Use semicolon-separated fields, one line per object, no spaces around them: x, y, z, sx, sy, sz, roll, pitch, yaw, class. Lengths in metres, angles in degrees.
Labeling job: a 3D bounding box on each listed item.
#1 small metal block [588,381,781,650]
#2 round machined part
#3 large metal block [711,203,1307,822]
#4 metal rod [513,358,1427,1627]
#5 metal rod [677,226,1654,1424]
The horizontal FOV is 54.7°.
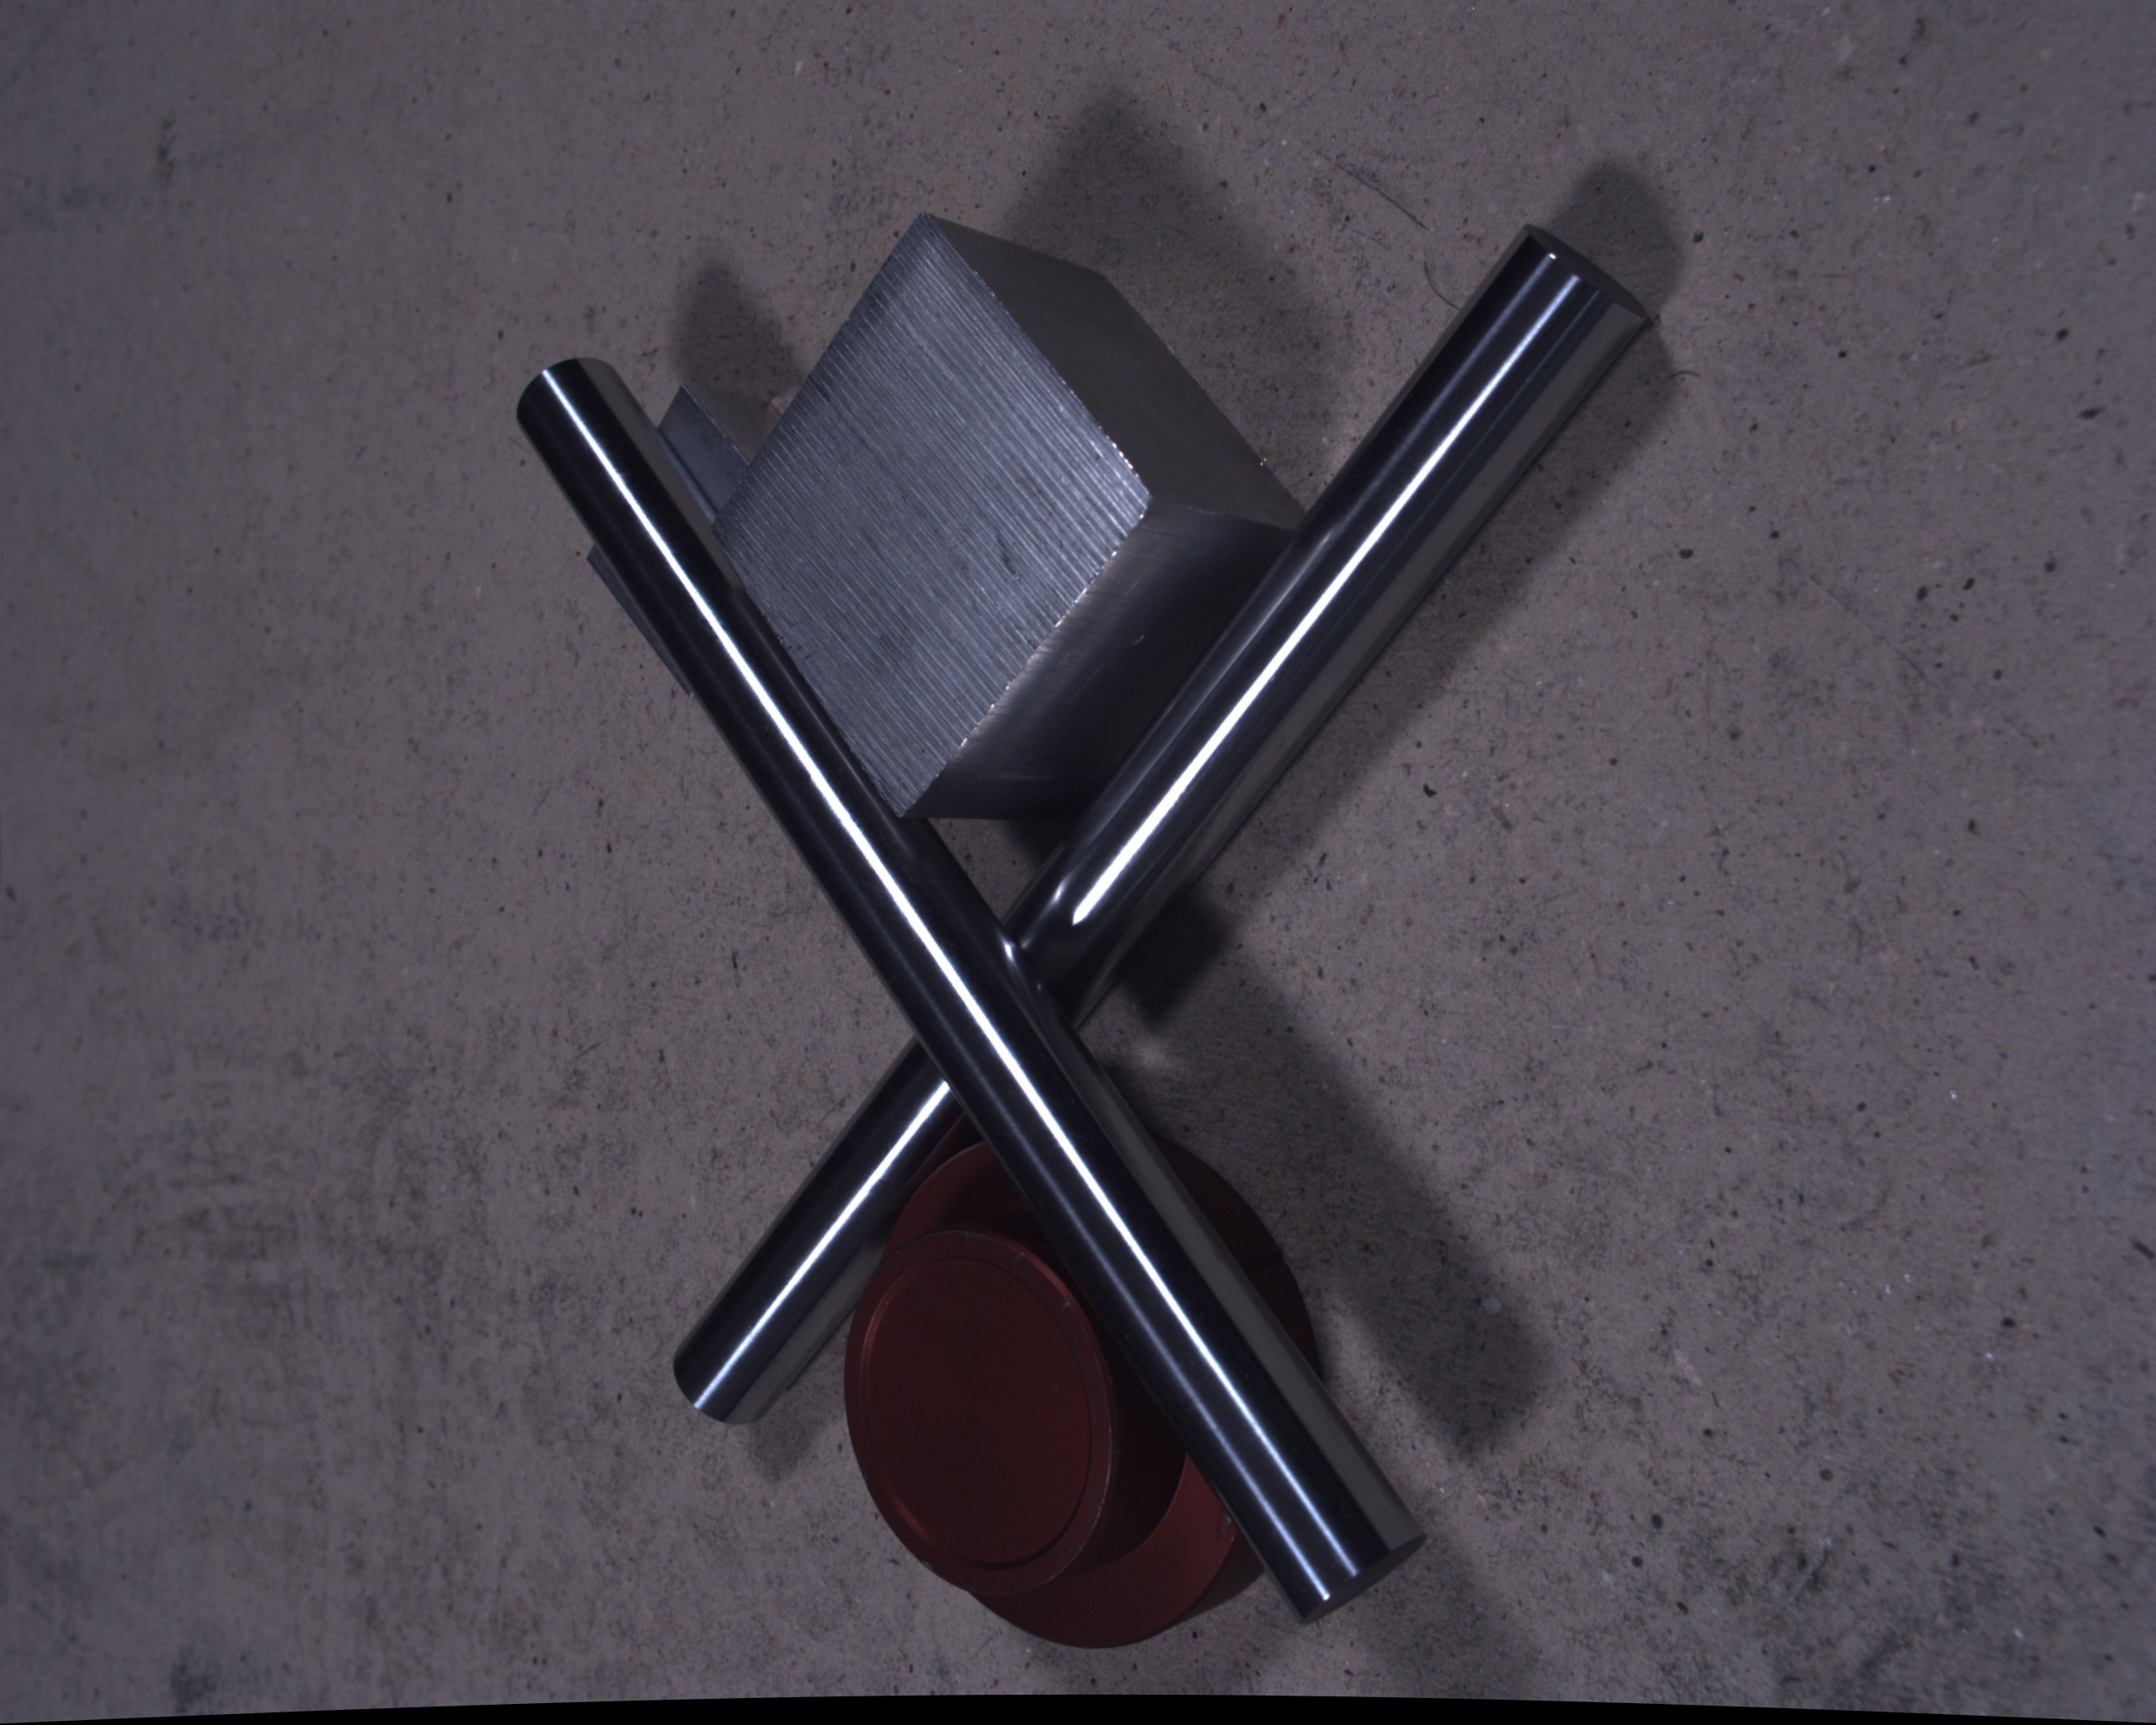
-0.078;-0.071;0.470;0.050;0.025;0.050;50;119;28;small metal block
-0.006;0.101;0.398;0.098;0.042;0.097;0;90;39;round machined part
-0.014;-0.064;0.401;0.080;0.050;0.080;-49;61;28;large metal block
-0.034;0.006;0.399;0.025;0.025;0.300;-51;61;28;metal rod
0.002;0.010;0.405;0.025;0.025;0.298;52;120;27;metal rod
